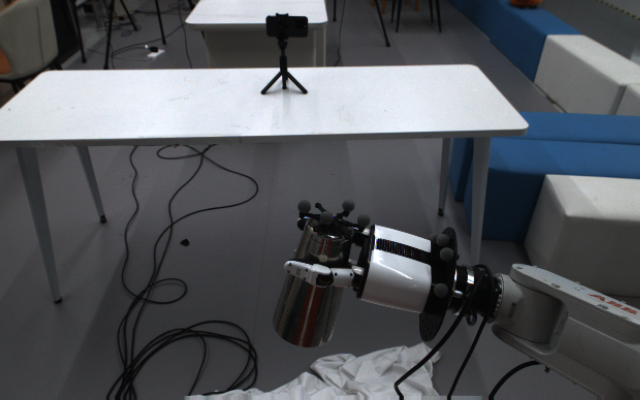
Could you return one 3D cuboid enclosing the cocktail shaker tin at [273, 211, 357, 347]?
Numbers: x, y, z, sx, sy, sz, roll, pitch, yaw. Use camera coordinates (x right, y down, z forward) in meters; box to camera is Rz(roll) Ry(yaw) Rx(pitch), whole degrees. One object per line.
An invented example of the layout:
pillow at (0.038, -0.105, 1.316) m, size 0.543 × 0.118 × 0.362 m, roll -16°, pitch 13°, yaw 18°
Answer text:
cocktail shaker tin at (-0.003, 0.106, 0.678) m, size 0.093 × 0.170 × 0.093 m, roll 12°, pitch 25°, yaw -6°
